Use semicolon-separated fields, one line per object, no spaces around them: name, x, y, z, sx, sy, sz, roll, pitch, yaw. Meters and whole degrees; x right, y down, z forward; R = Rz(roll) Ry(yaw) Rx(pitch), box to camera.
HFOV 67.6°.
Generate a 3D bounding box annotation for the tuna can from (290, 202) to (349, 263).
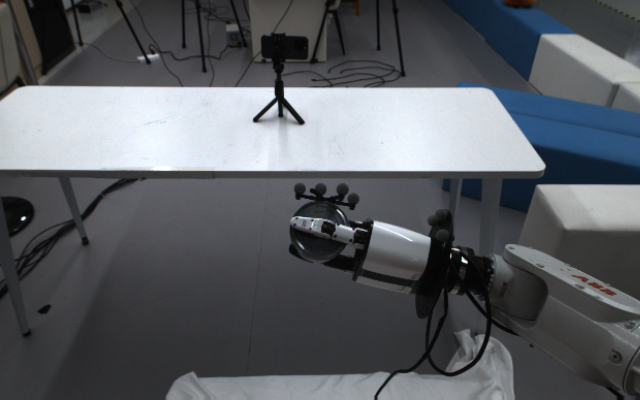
tuna can;0.000;0.044;0.691;0.085;0.034;0.085;1;73;-3
